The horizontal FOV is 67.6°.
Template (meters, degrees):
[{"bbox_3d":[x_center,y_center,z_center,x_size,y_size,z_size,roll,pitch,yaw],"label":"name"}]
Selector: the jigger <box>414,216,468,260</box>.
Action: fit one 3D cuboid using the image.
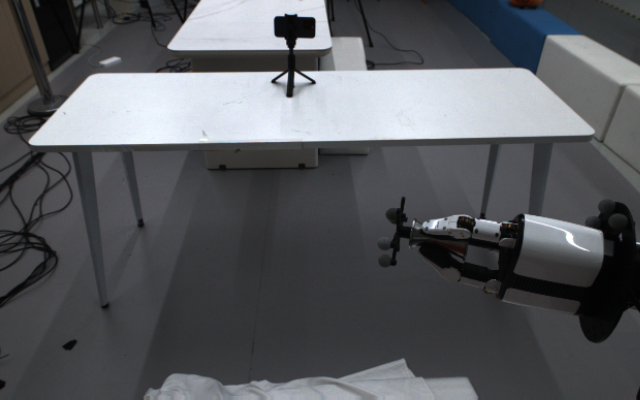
[{"bbox_3d":[0.154,0.042,0.596,0.071,0.043,0.043,9,35,16],"label":"jigger"}]
